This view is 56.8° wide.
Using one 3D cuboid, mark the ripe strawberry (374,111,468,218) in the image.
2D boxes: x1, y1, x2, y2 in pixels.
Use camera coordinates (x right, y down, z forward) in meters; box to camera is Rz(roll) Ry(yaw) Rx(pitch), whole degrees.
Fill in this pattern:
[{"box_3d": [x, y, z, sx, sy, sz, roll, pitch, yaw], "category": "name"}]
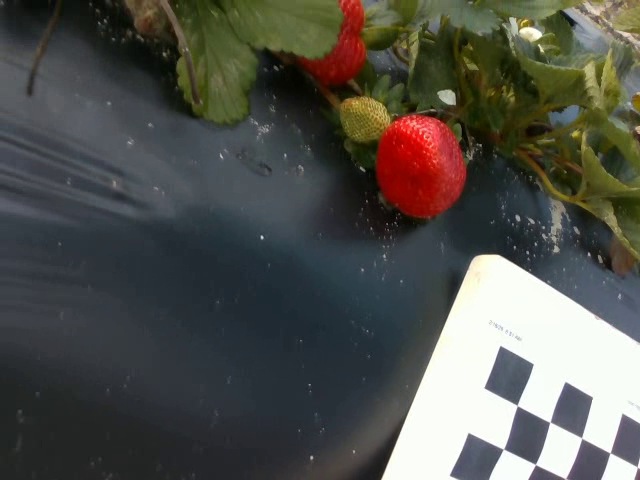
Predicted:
[{"box_3d": [0.023, -0.016, 0.125, 0.022, 0.025, 0.030, 10, 2, 4], "category": "ripe strawberry"}]
